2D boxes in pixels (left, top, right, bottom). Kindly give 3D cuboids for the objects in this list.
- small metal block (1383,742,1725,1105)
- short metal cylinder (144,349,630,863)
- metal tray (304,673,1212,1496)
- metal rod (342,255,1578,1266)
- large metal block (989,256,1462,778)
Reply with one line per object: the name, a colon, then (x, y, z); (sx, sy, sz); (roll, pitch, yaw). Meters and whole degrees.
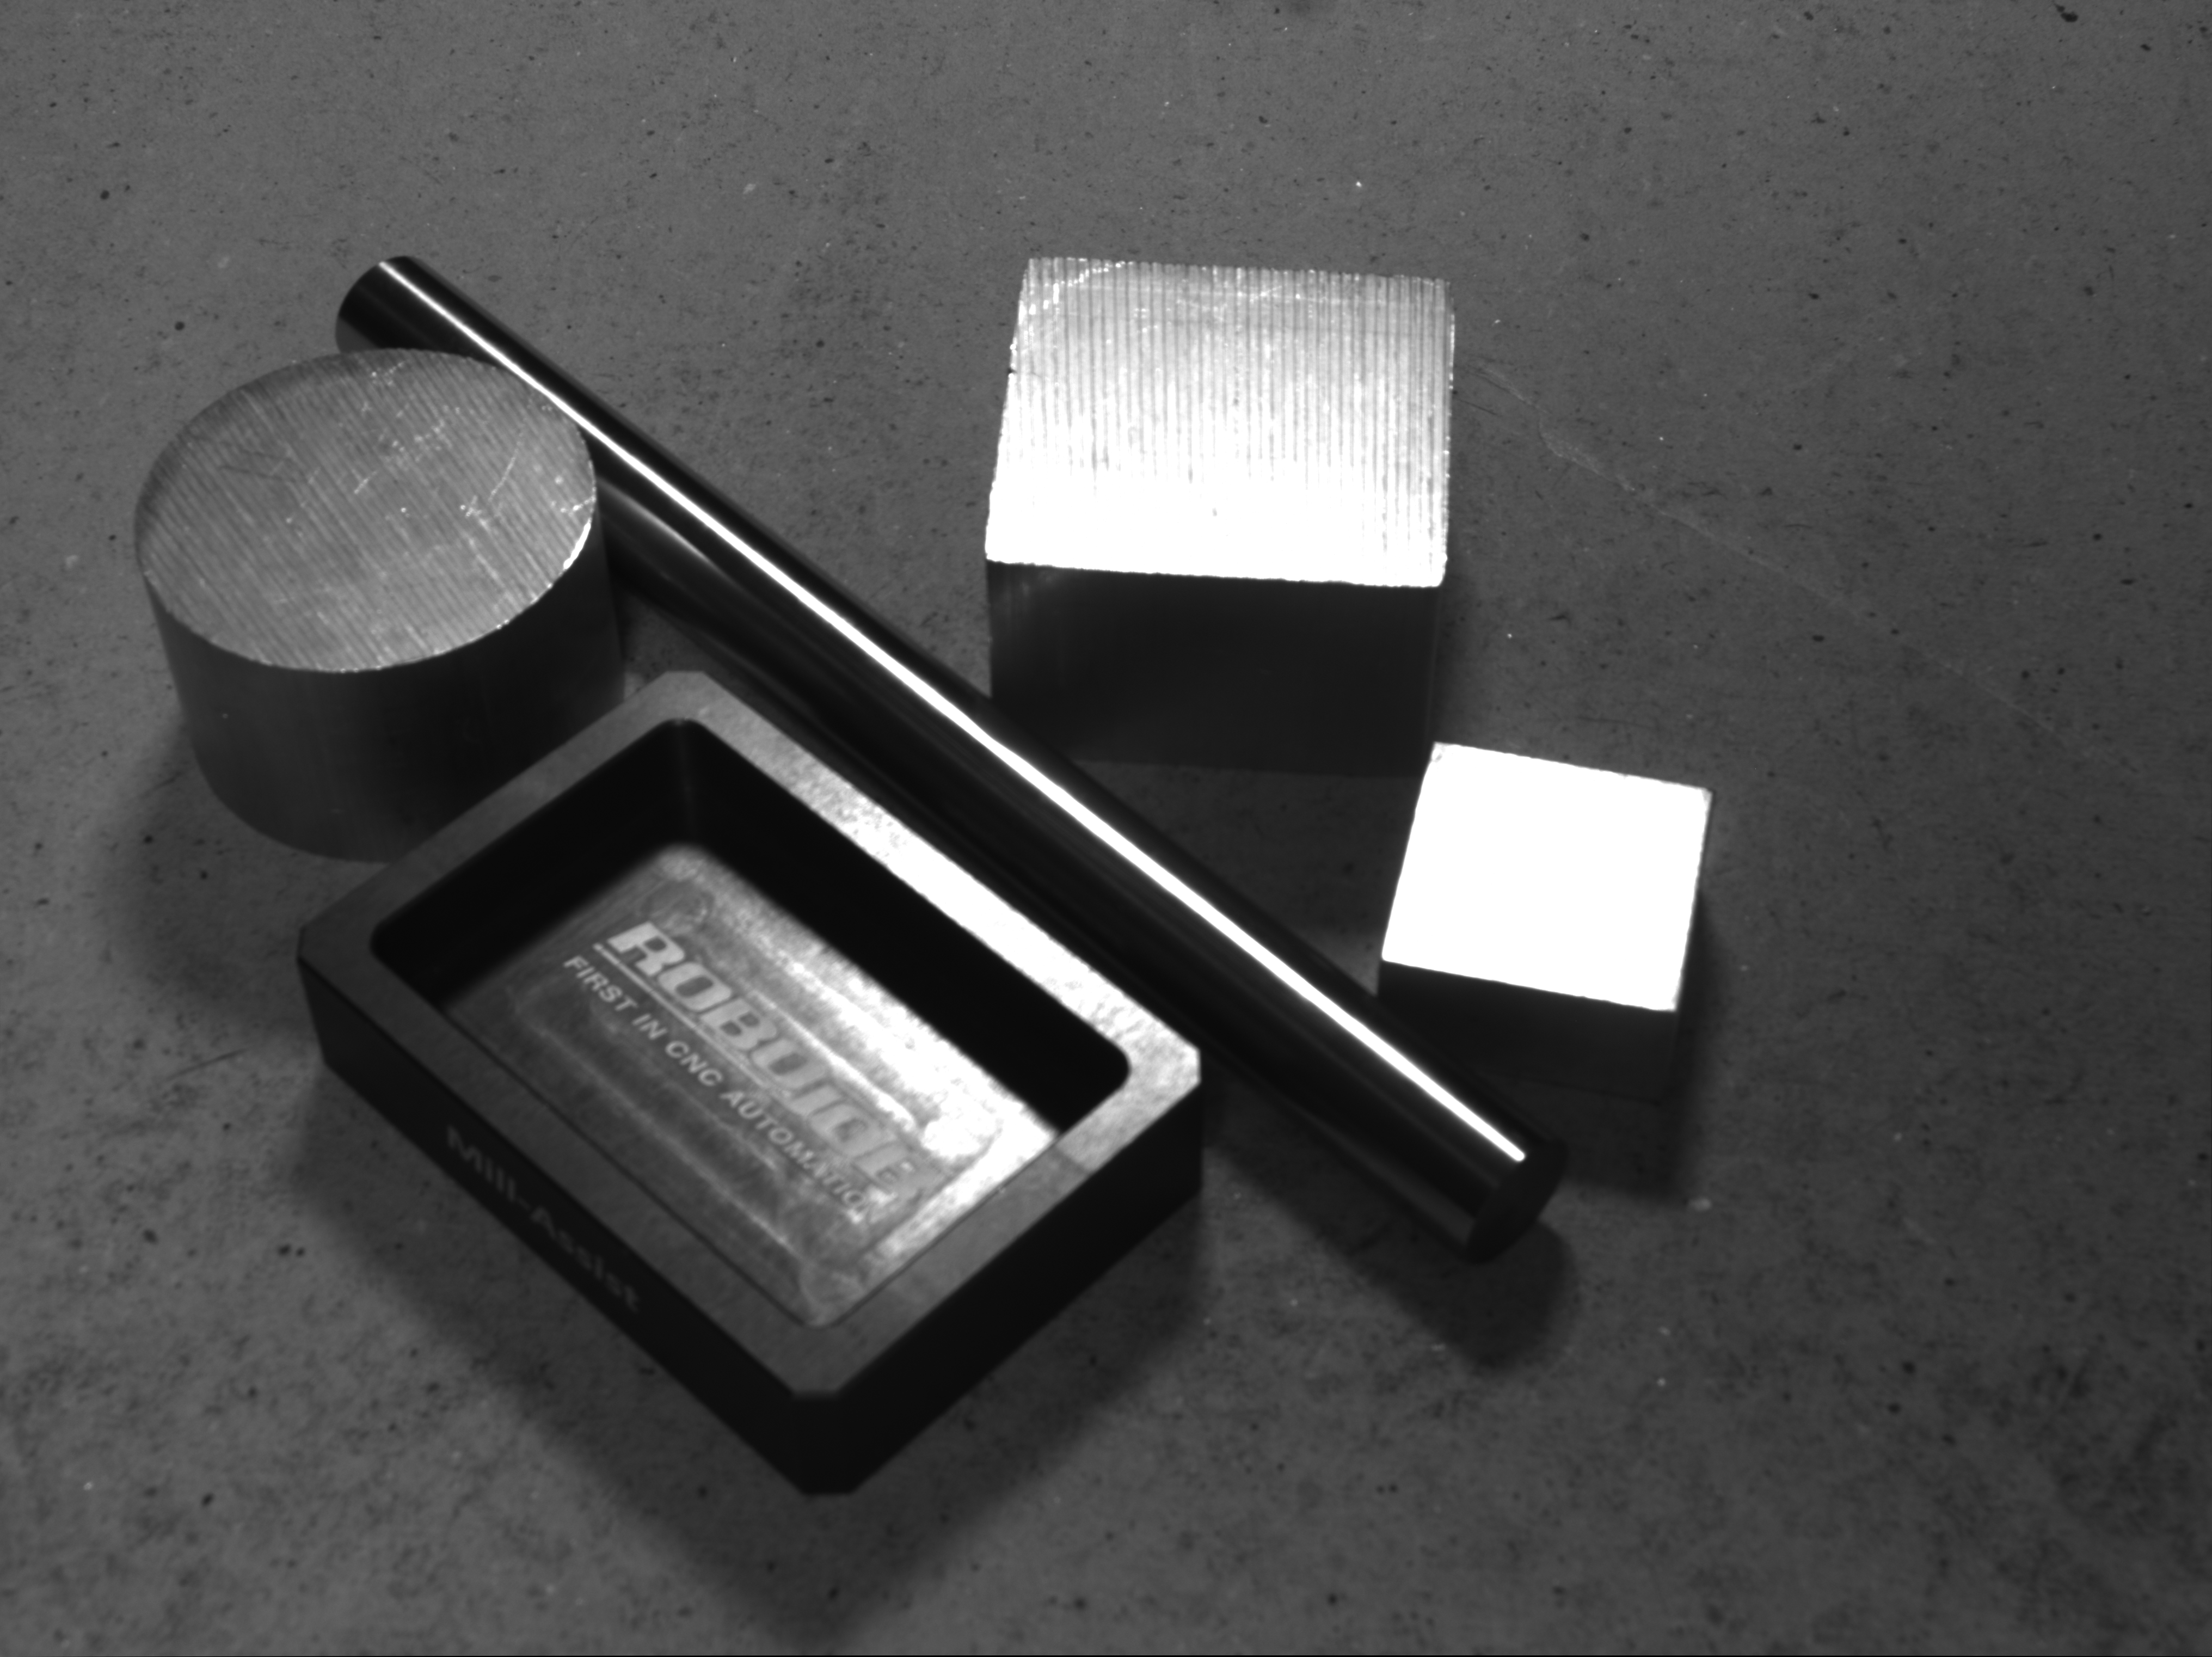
small metal block: (0.077, 0.016, 0.630); (0.050, 0.025, 0.050); (10, 51, 8)
short metal cylinder: (-0.128, -0.041, 0.660); (0.080, 0.050, 0.080); (0, 50, 0)
metal tray: (-0.057, 0.038, 0.607); (0.130, 0.030, 0.090); (37, 59, 27)
metal rod: (-0.037, -0.021, 0.659); (0.025, 0.025, 0.299); (-37, 59, -27)
large metal block: (0.023, -0.058, 0.675); (0.080, 0.050, 0.080); (3, 50, 3)
